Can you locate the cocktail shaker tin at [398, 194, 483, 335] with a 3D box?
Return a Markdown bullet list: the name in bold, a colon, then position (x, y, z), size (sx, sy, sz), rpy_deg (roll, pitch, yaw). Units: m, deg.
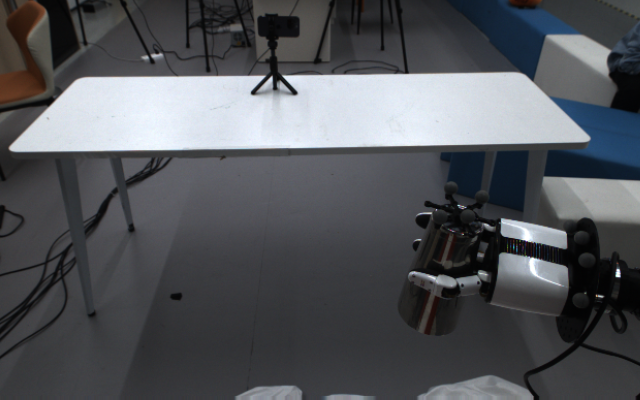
- **cocktail shaker tin**: position (0.168, 0.090, 0.656), size (0.093, 0.170, 0.093), rpy_deg (4, 36, -3)
